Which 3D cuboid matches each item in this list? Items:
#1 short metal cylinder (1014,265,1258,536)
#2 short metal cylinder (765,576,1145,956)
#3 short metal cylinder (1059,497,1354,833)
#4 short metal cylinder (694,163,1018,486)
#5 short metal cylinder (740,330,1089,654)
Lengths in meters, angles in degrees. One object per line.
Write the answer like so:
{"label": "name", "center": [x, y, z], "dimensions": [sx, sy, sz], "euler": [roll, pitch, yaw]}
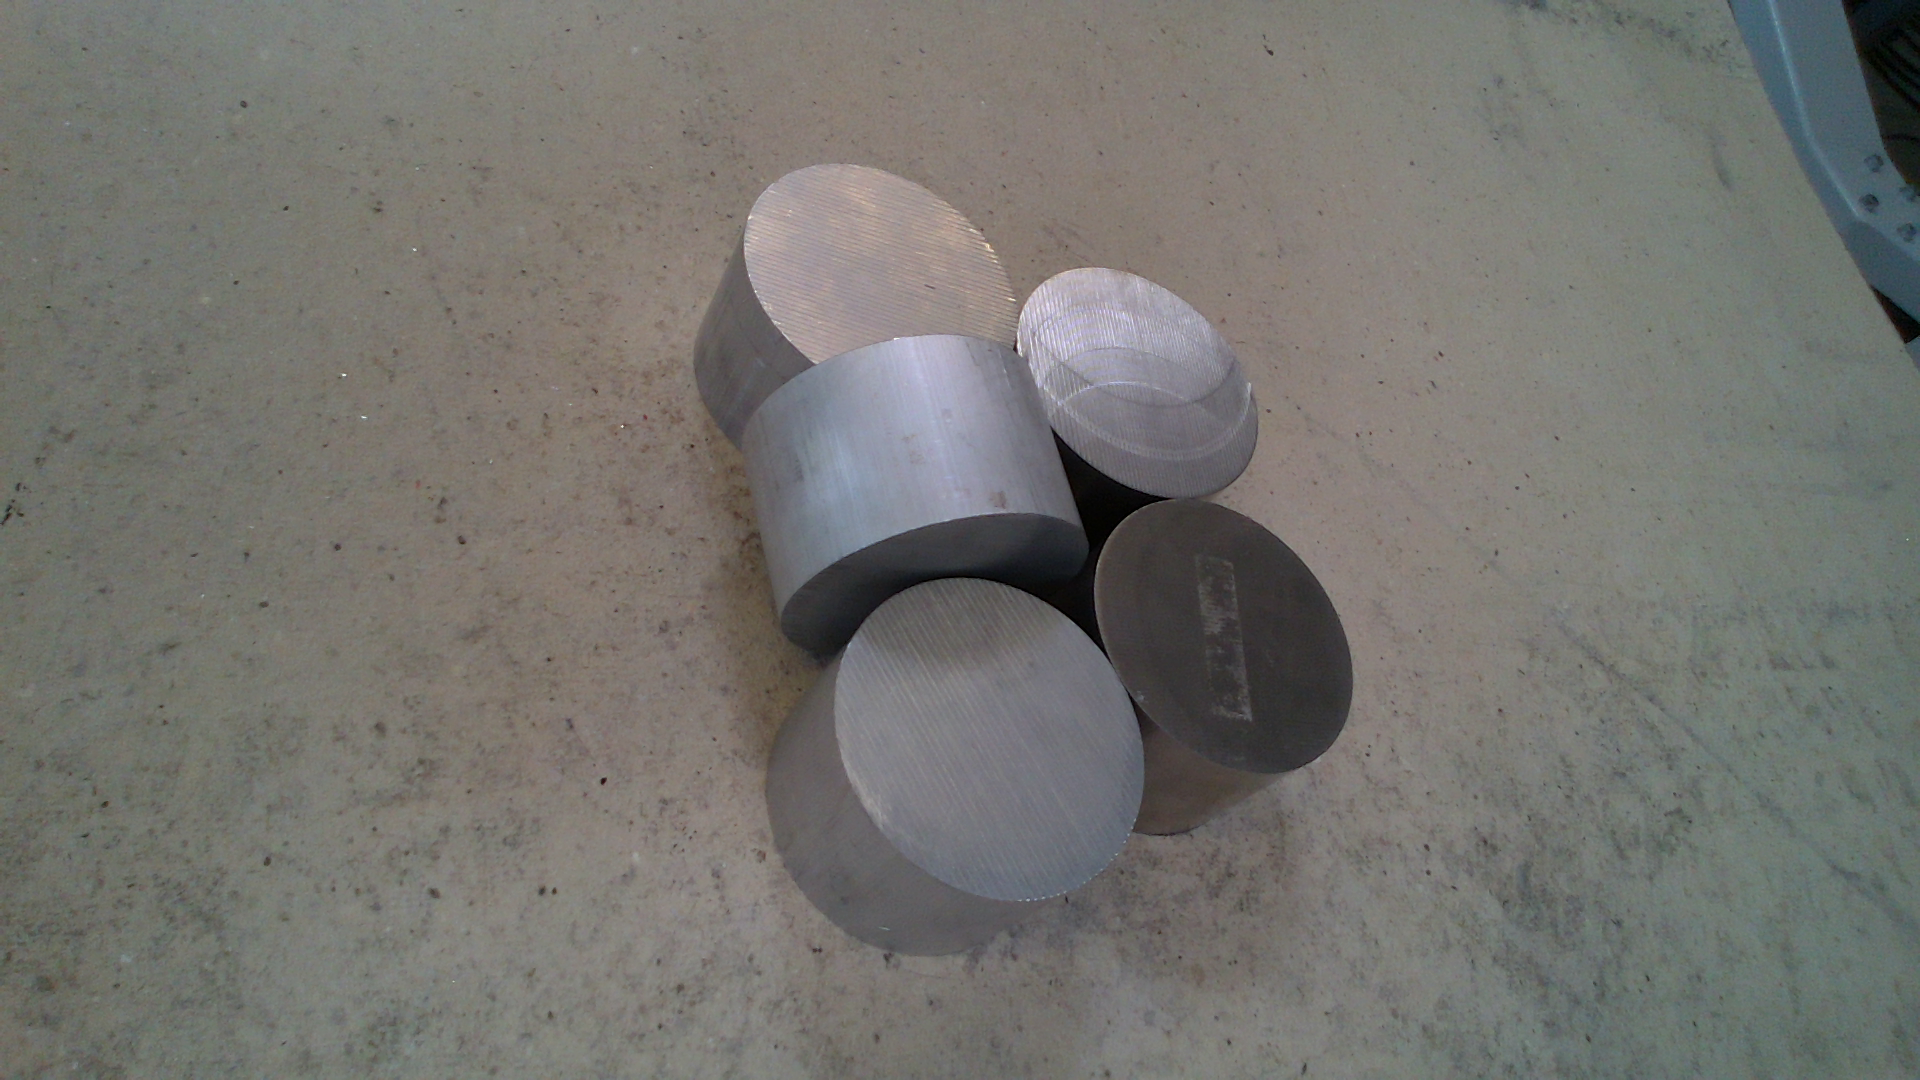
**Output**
{"label": "short metal cylinder", "center": [0.042, -0.036, 0.418], "dimensions": [0.080, 0.050, 0.080], "euler": [13, 56, -21]}
{"label": "short metal cylinder", "center": [-0.002, 0.056, 0.338], "dimensions": [0.080, 0.050, 0.080], "euler": [13, 57, -20]}
{"label": "short metal cylinder", "center": [0.061, 0.035, 0.384], "dimensions": [0.080, 0.050, 0.080], "euler": [13, 57, -20]}
{"label": "short metal cylinder", "center": [-0.030, -0.060, 0.394], "dimensions": [0.080, 0.050, 0.080], "euler": [13, 57, -20]}
{"label": "short metal cylinder", "center": [-0.013, -0.010, 0.354], "dimensions": [0.080, 0.080, 0.050], "euler": [-3, 63, -30]}
